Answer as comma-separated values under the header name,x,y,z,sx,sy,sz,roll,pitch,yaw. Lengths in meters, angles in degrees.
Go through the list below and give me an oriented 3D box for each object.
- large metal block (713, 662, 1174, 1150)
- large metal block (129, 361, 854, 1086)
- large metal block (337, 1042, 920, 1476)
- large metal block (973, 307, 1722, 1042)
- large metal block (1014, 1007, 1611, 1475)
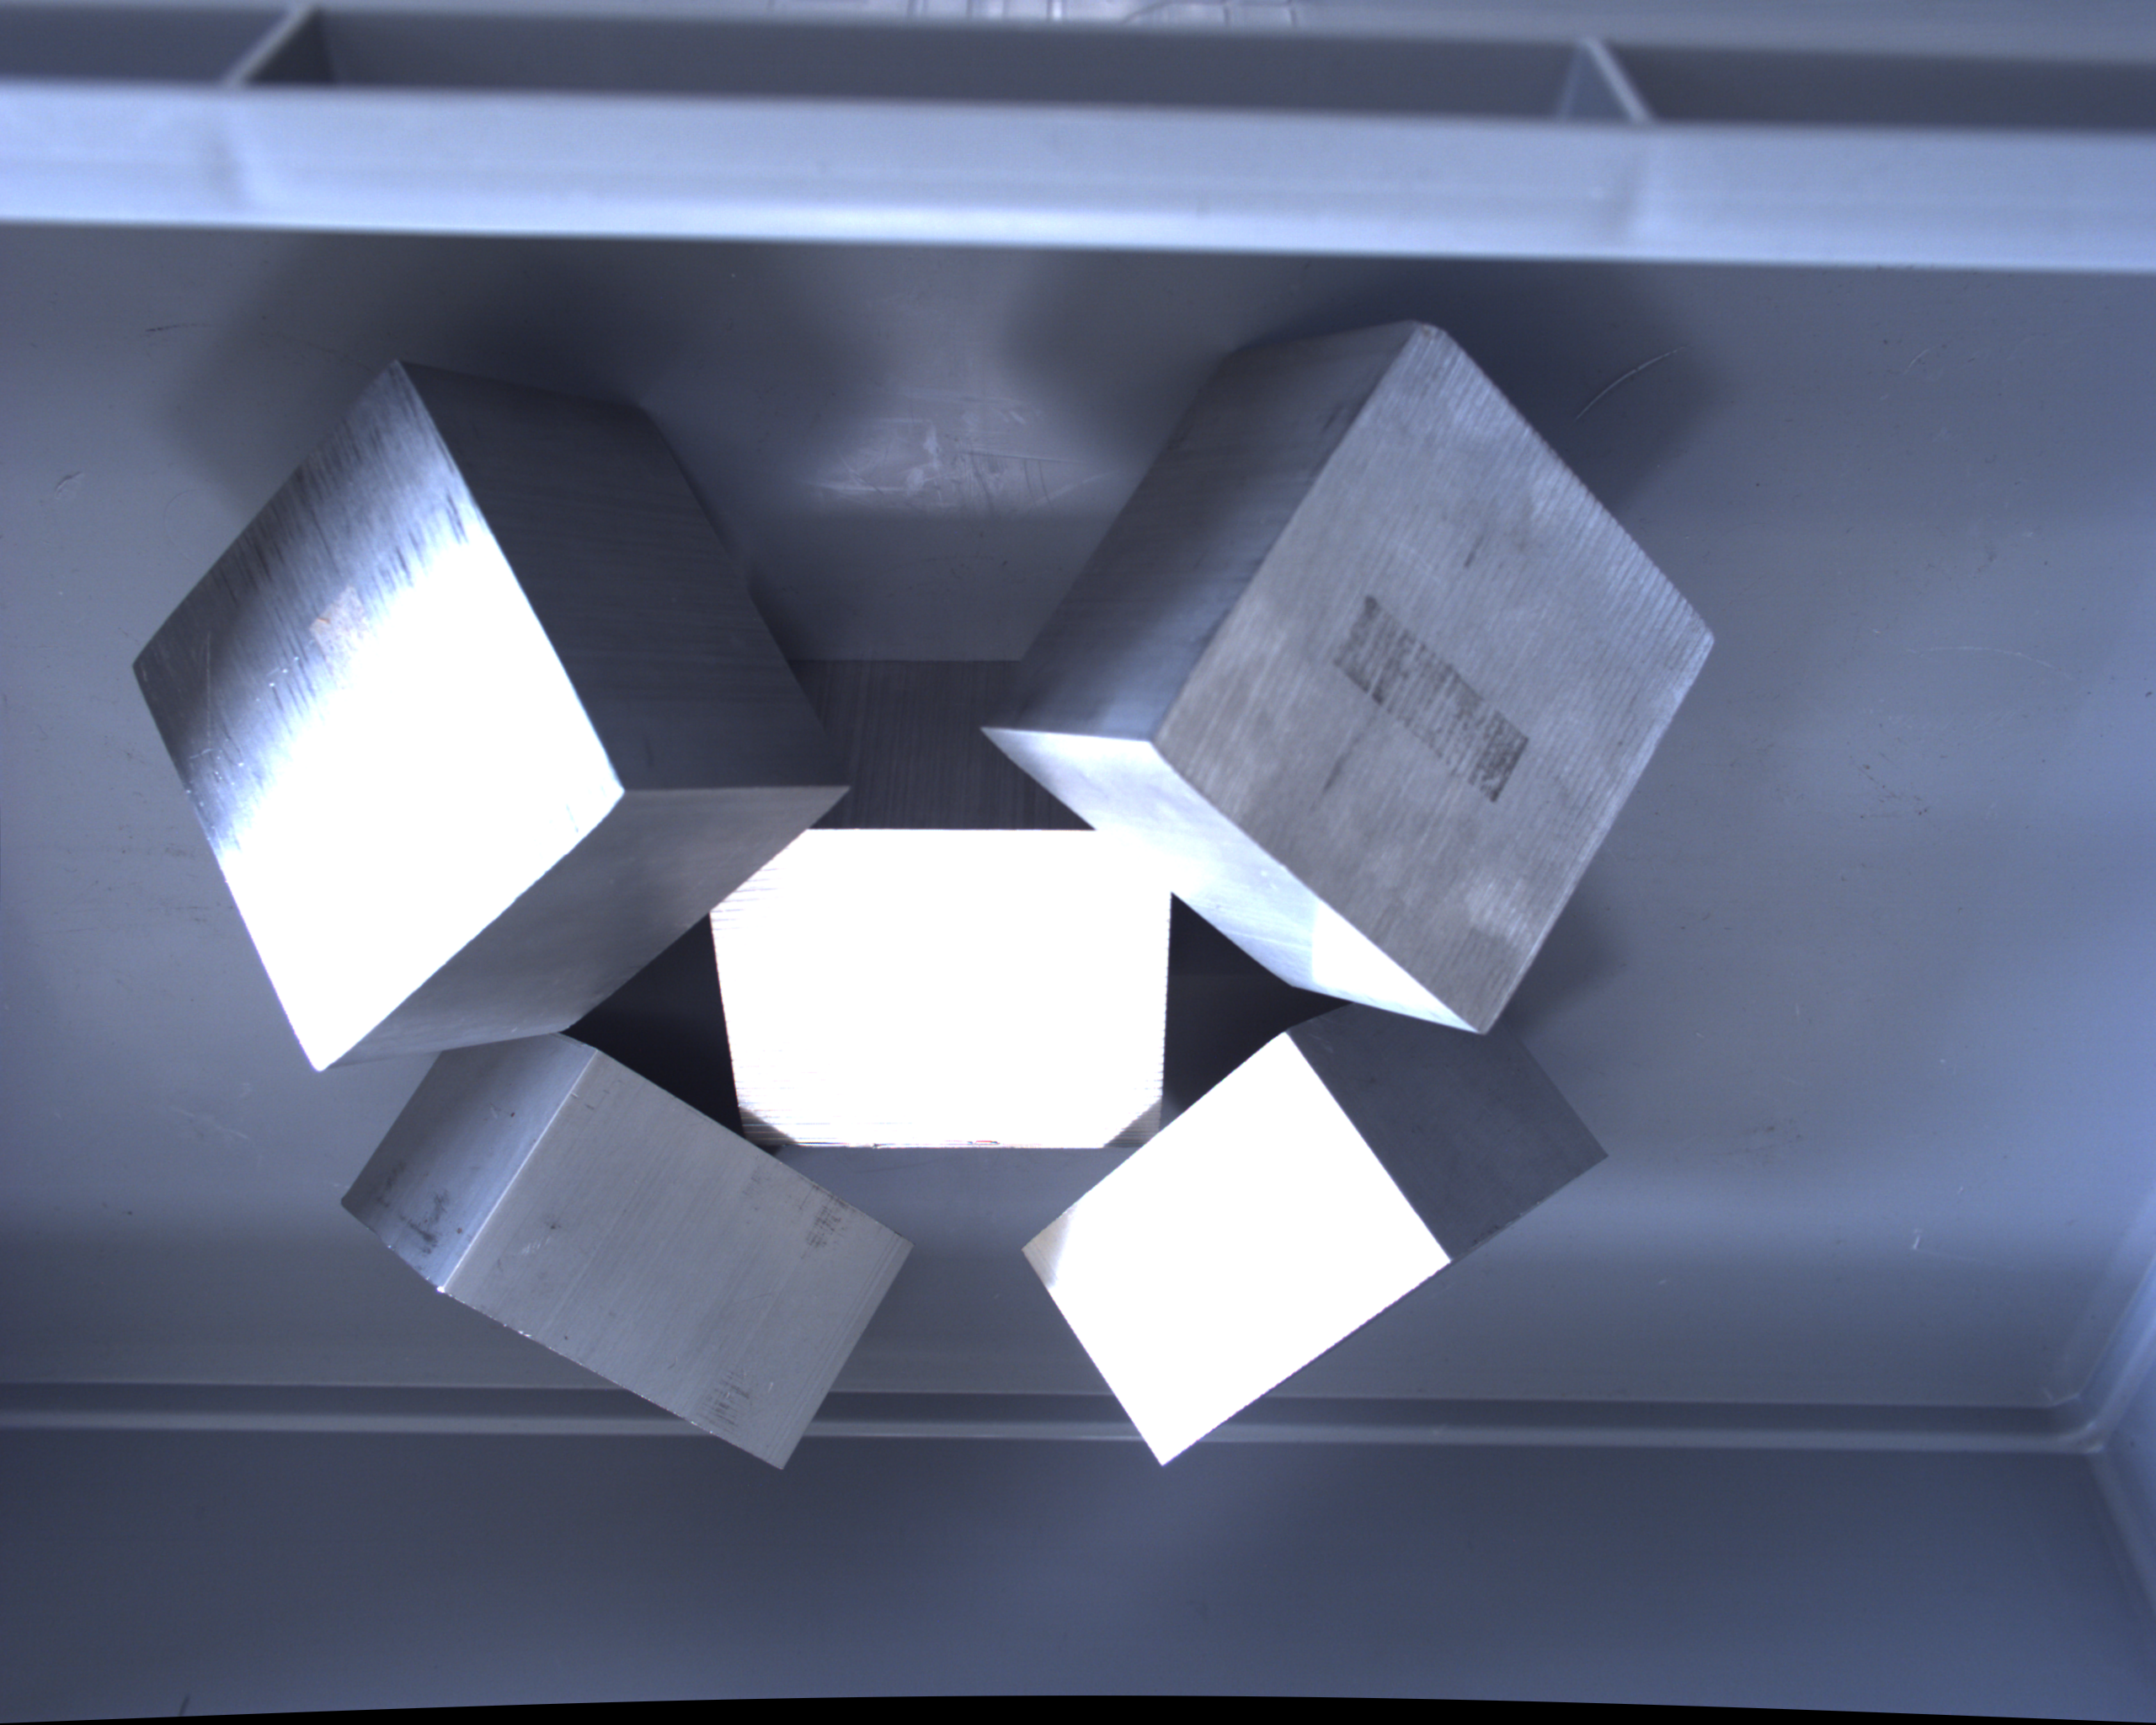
name,x,y,z,sx,sy,sz,roll,pitch,yaw
large metal block,-0.024,0.009,0.397,0.081,0.050,0.079,0,130,-1
large metal block,-0.097,-0.021,0.341,0.080,0.080,0.050,-38,164,27
large metal block,-0.093,0.074,0.425,0.080,0.050,0.080,38,165,-28
large metal block,0.045,-0.030,0.338,0.080,0.050,0.080,39,76,-28
large metal block,0.048,0.069,0.421,0.080,0.050,0.081,-44,163,30
